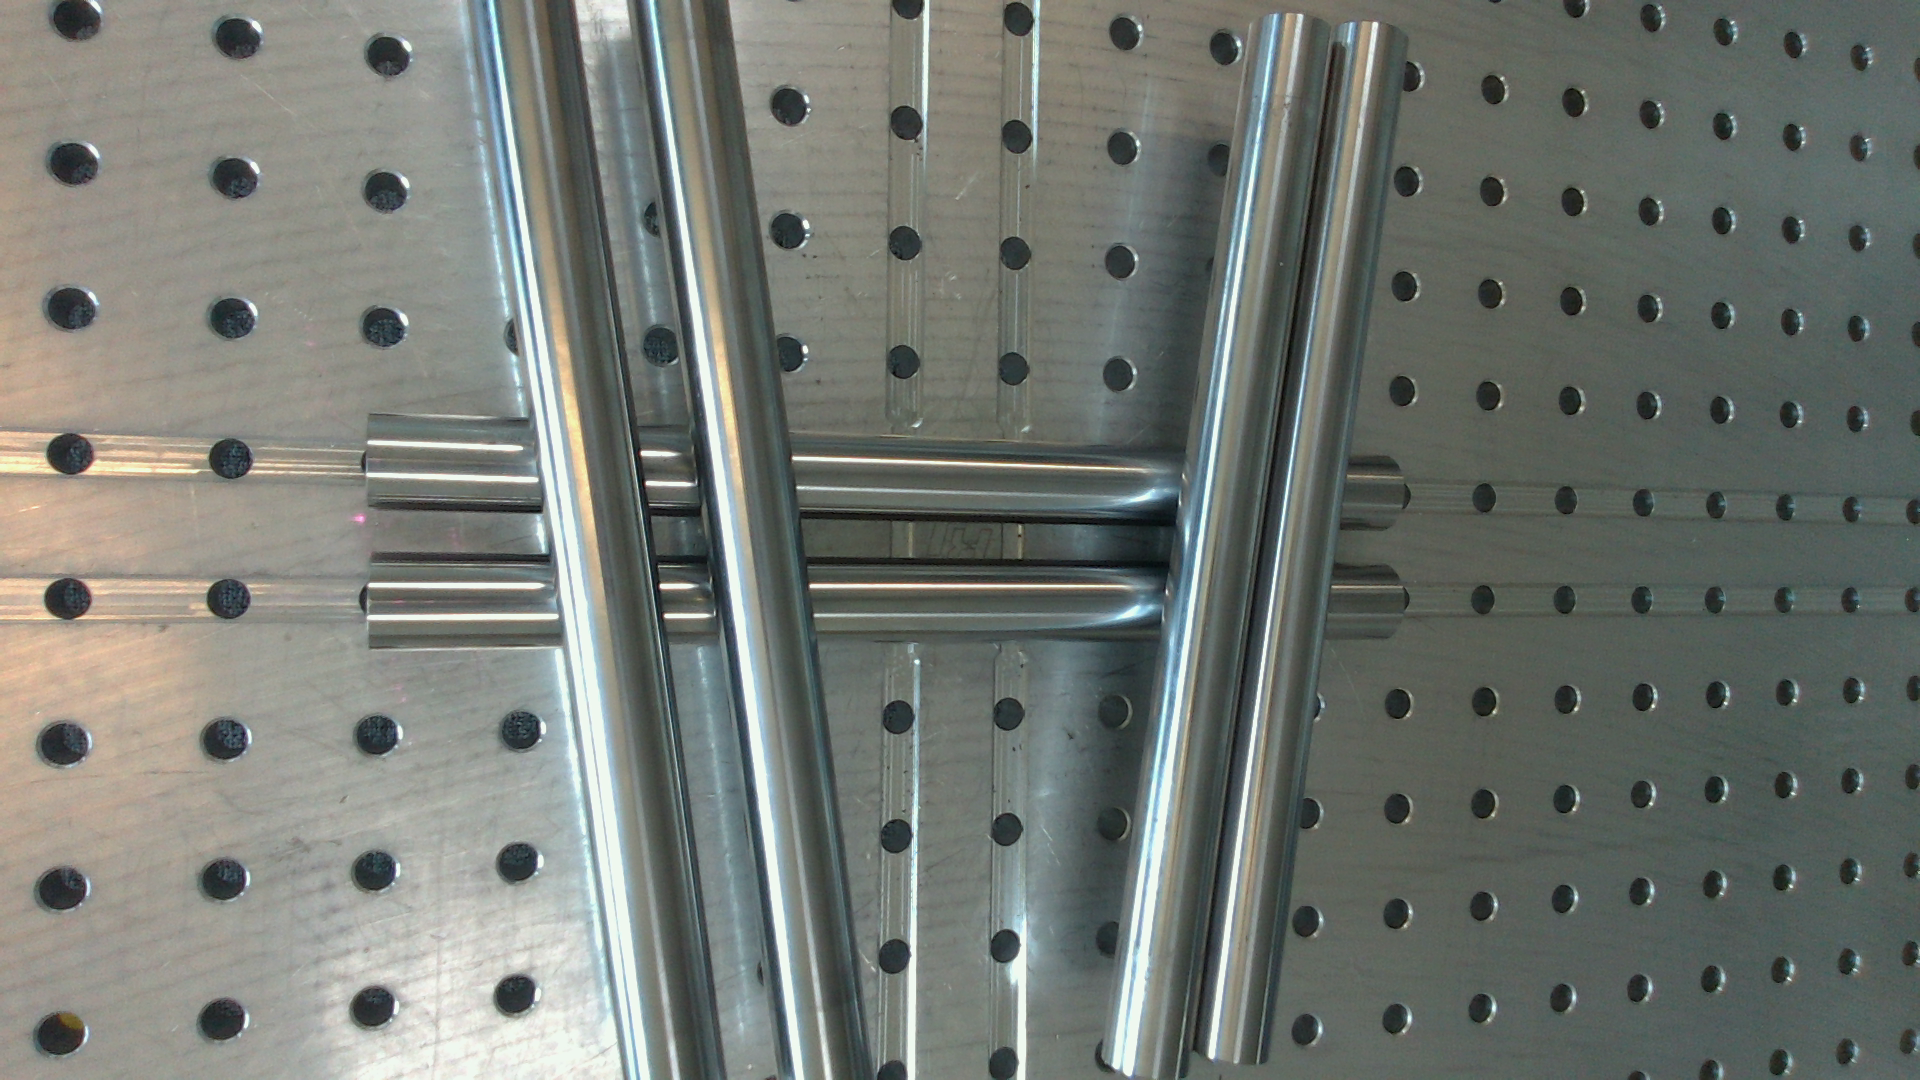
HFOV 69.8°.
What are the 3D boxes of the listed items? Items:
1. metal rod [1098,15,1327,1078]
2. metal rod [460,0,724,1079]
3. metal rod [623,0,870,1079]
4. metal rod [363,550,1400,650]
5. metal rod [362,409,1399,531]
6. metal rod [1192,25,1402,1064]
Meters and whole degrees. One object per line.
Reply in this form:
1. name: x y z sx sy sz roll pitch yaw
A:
1. metal rod: 0.073 -0.001 0.397 0.025 0.025 0.300 10 87 -20
2. metal rod: -0.090 -0.004 0.337 0.025 0.025 0.300 -9 93 -20
3. metal rod: -0.055 -0.006 0.350 0.025 0.025 0.300 -8 93 -20
4. metal rod: -0.007 0.017 0.394 0.301 0.025 0.025 1 90 -20
5. metal rod: -0.007 -0.018 0.394 0.301 0.025 0.025 1 90 -20
6. metal rod: 0.098 -0.001 0.406 0.025 0.025 0.300 10 87 -20
